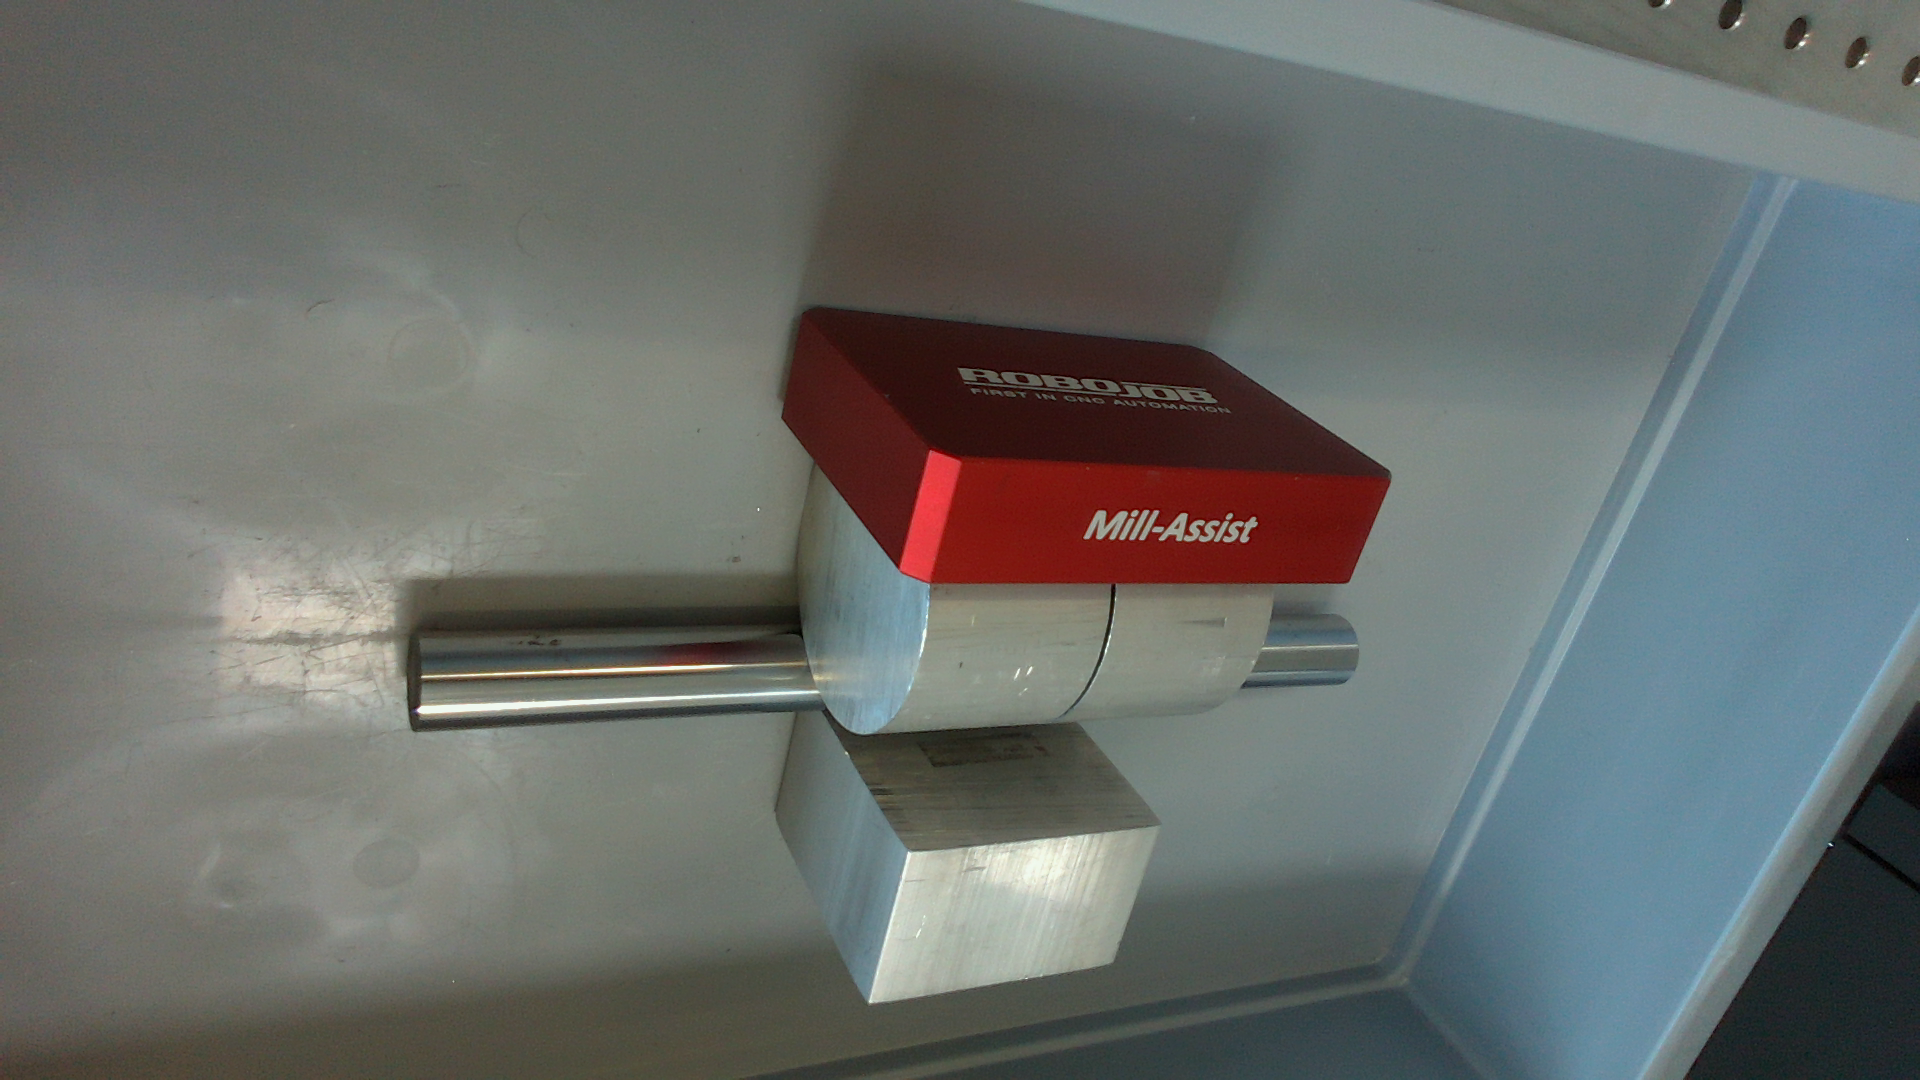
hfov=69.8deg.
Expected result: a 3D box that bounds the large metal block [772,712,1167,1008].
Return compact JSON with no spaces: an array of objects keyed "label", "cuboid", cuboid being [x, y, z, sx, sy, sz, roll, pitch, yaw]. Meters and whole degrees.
[{"label":"large metal block","cuboid":[0.000,0.083,0.402,0.080,0.080,0.050,1,118,-29]}]

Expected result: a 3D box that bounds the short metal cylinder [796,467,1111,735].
[{"label":"short metal cylinder","cuboid":[-0.004,0.009,0.356,0.050,0.080,0.080,0,118,-28]}]

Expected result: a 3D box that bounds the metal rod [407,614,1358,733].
[{"label":"metal rod","cuboid":[-0.002,0.036,0.409,0.301,0.025,0.025,1,118,-29]}]

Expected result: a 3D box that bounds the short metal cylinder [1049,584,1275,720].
[{"label":"short metal cylinder","cuboid":[0.041,0.009,0.381,0.050,0.080,0.080,1,118,-29]}]

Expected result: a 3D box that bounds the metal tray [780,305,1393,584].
[{"label":"metal tray","cuboid":[0.031,-0.024,0.348,0.130,0.090,0.030,1,118,-29]}]
